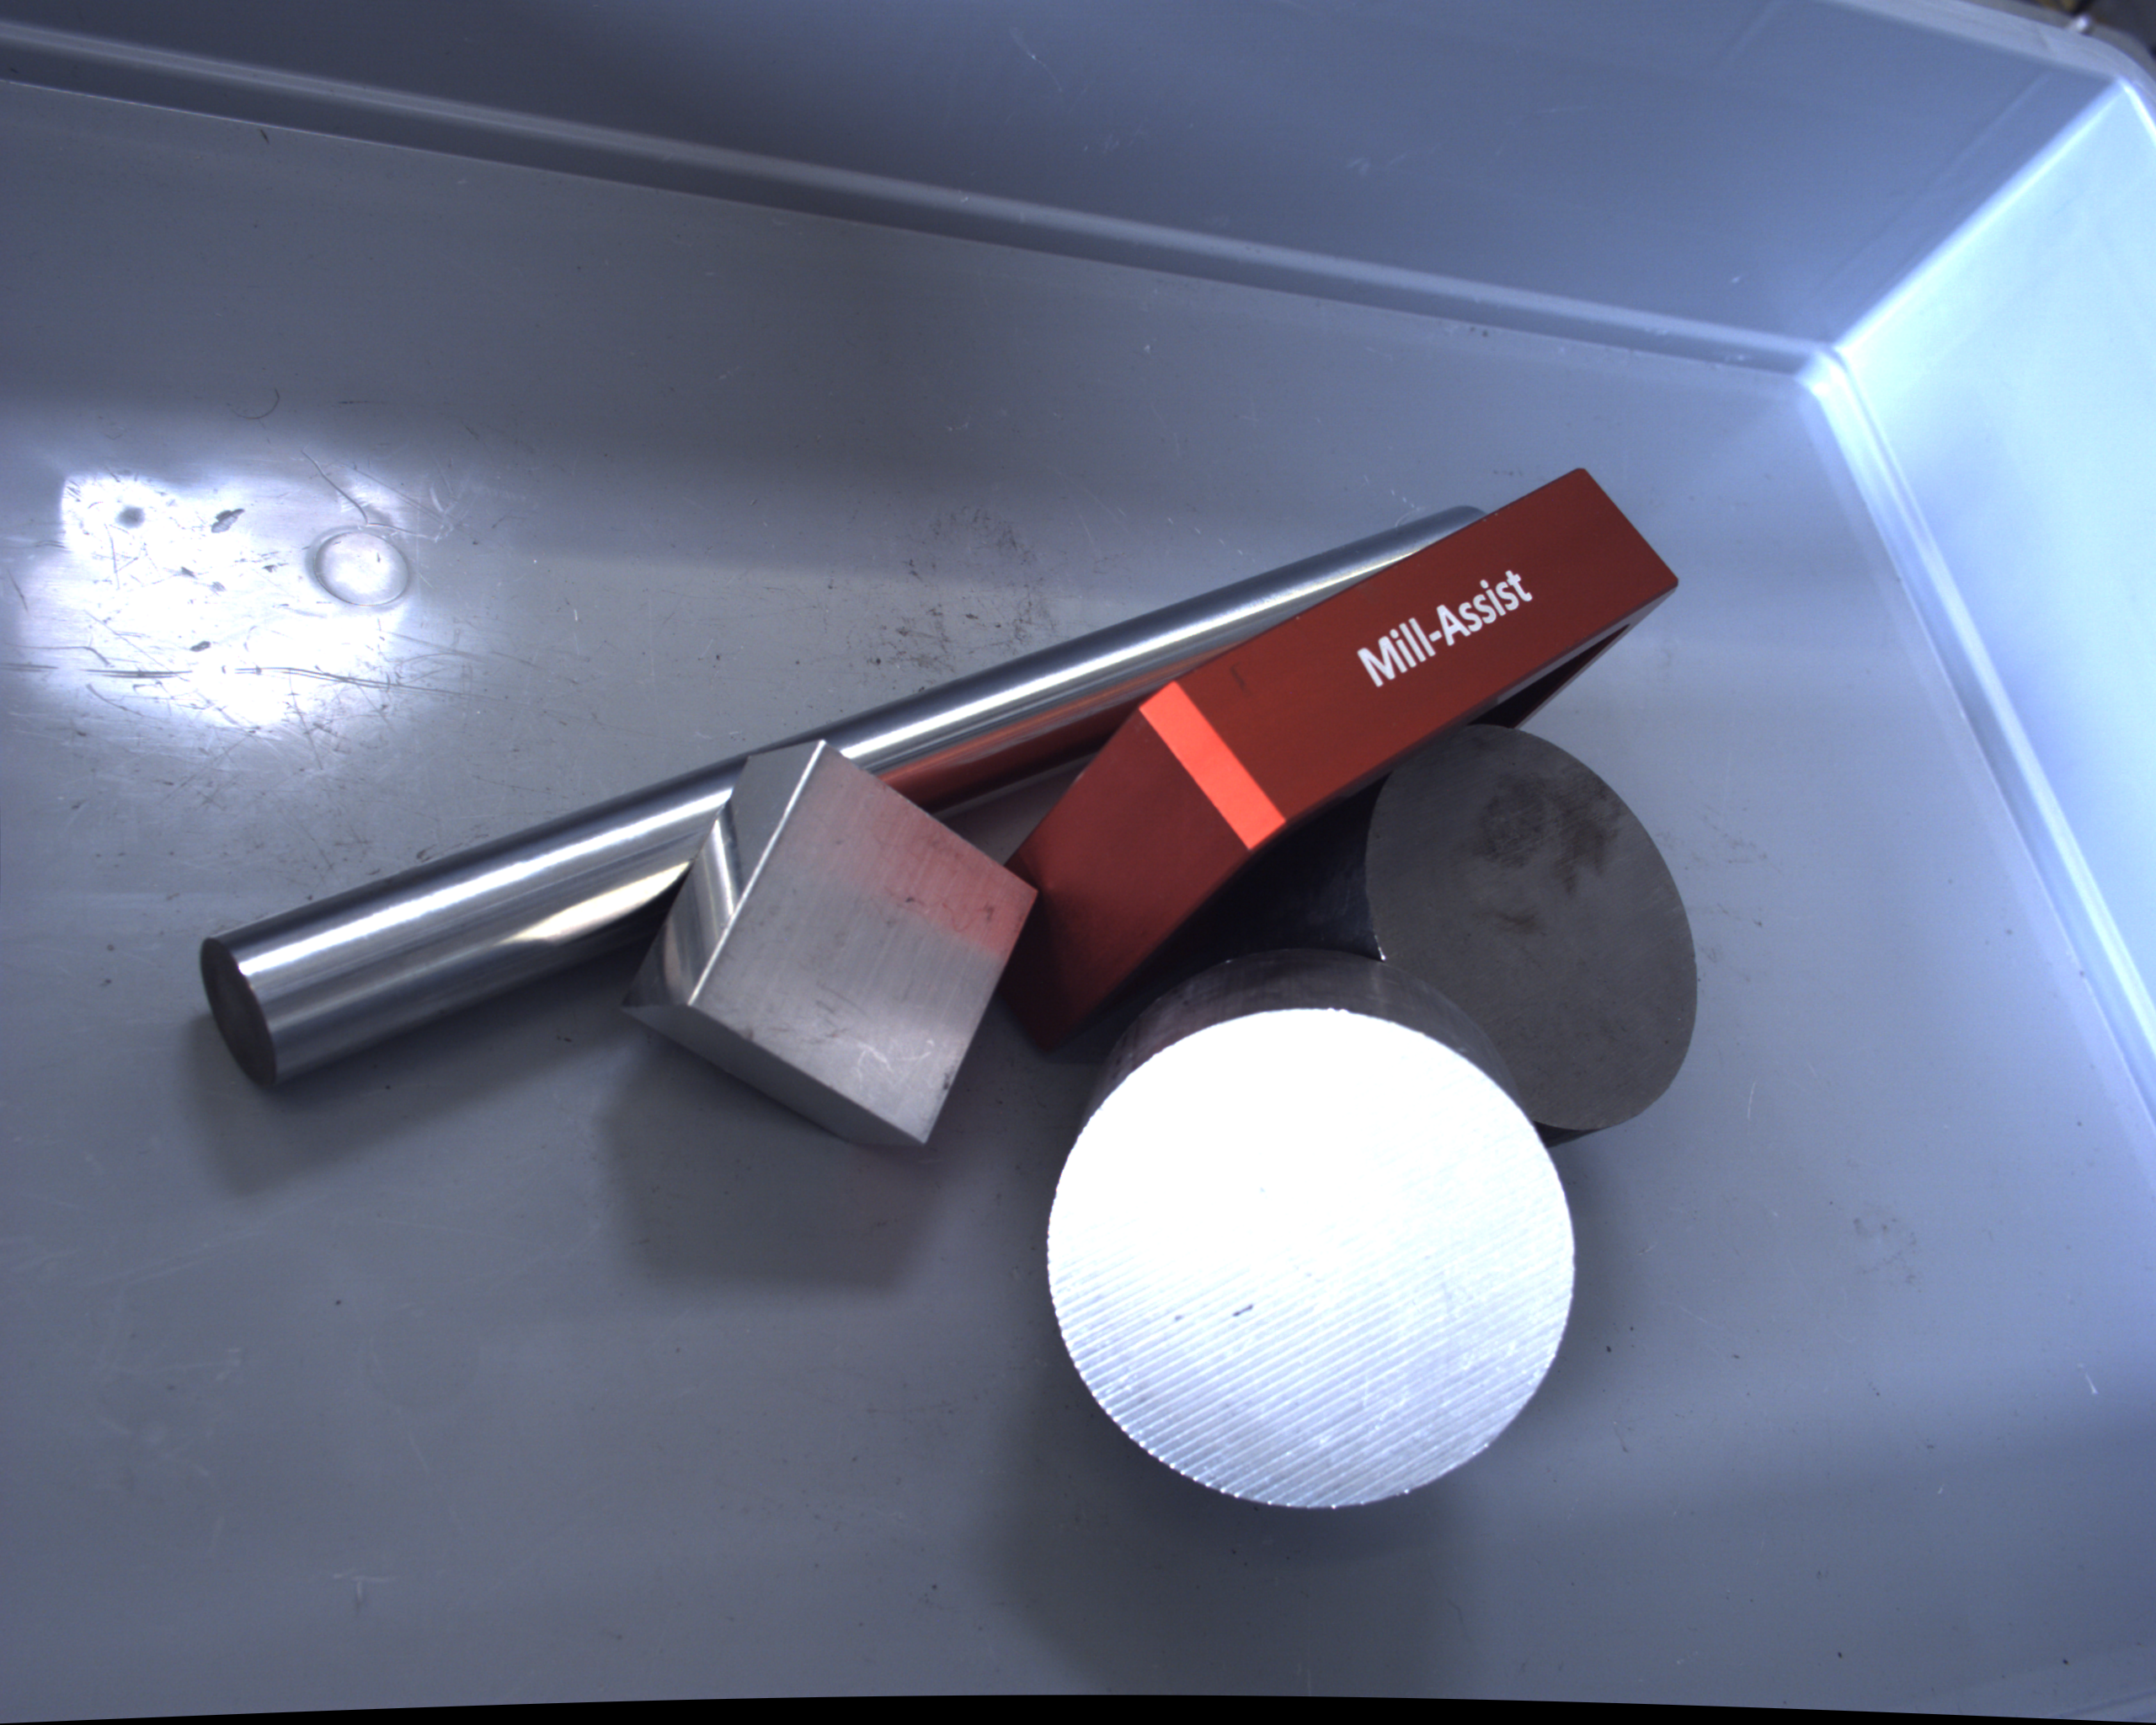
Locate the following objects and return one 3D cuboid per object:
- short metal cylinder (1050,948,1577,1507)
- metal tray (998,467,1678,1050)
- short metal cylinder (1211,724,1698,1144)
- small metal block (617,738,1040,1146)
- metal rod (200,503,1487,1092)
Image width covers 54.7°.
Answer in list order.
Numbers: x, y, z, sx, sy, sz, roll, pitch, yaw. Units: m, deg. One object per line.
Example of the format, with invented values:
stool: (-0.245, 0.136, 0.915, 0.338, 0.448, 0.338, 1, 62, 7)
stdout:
short metal cylinder: (0.038, 0.058, 0.345, 0.080, 0.080, 0.050, 40, 9, -1)
metal tray: (0.046, -0.021, 0.399, 0.131, 0.090, 0.030, -30, 79, -38)
short metal cylinder: (0.074, 0.019, 0.409, 0.081, 0.050, 0.080, 13, 64, -28)
small metal block: (-0.041, 0.015, 0.356, 0.050, 0.025, 0.050, 36, 65, -29)
metal rod: (-0.017, -0.025, 0.409, 0.302, 0.025, 0.025, -24, 75, -36)
